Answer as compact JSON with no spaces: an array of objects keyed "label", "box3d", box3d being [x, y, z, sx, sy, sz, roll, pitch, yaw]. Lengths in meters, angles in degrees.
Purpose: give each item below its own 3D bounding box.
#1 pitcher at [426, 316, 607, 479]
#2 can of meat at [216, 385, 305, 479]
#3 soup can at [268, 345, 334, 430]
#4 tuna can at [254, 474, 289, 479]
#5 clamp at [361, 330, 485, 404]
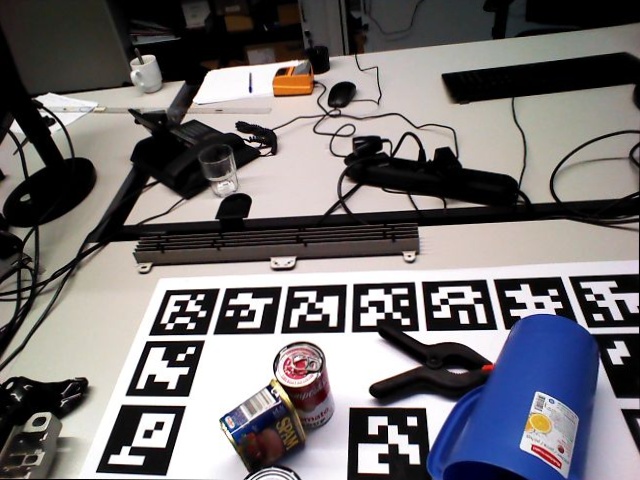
[{"label":"pitcher","box3d":[0.235,0.200,0.582,0.190,0.133,0.240,-8,28,40]},{"label":"can of meat","box3d":[-0.075,0.242,0.638,0.083,0.102,0.058,-30,45,-14]},{"label":"soup can","box3d":[-0.022,0.196,0.682,0.068,0.102,0.067,-9,43,8]},{"label":"tuna can","box3d":[-0.058,0.322,0.600,0.086,0.034,0.085,-7,43,6]},{"label":"clamp","box3d":[0.144,0.178,0.724,0.166,0.037,0.121,0,39,9]}]
